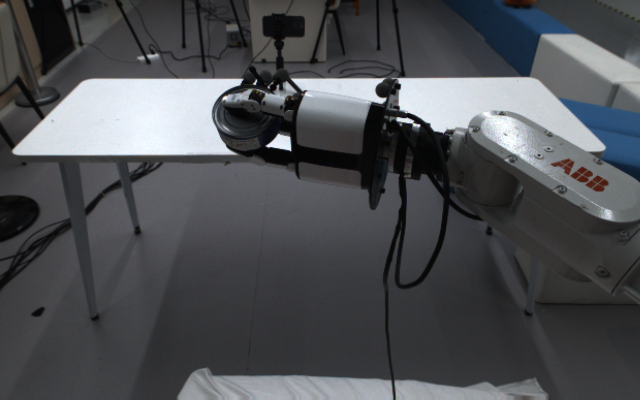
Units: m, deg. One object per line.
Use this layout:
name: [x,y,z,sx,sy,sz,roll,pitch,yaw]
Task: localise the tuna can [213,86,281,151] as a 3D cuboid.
tuna can: [-0.094,-0.107,0.630,0.085,0.034,0.085,-2,60,3]
